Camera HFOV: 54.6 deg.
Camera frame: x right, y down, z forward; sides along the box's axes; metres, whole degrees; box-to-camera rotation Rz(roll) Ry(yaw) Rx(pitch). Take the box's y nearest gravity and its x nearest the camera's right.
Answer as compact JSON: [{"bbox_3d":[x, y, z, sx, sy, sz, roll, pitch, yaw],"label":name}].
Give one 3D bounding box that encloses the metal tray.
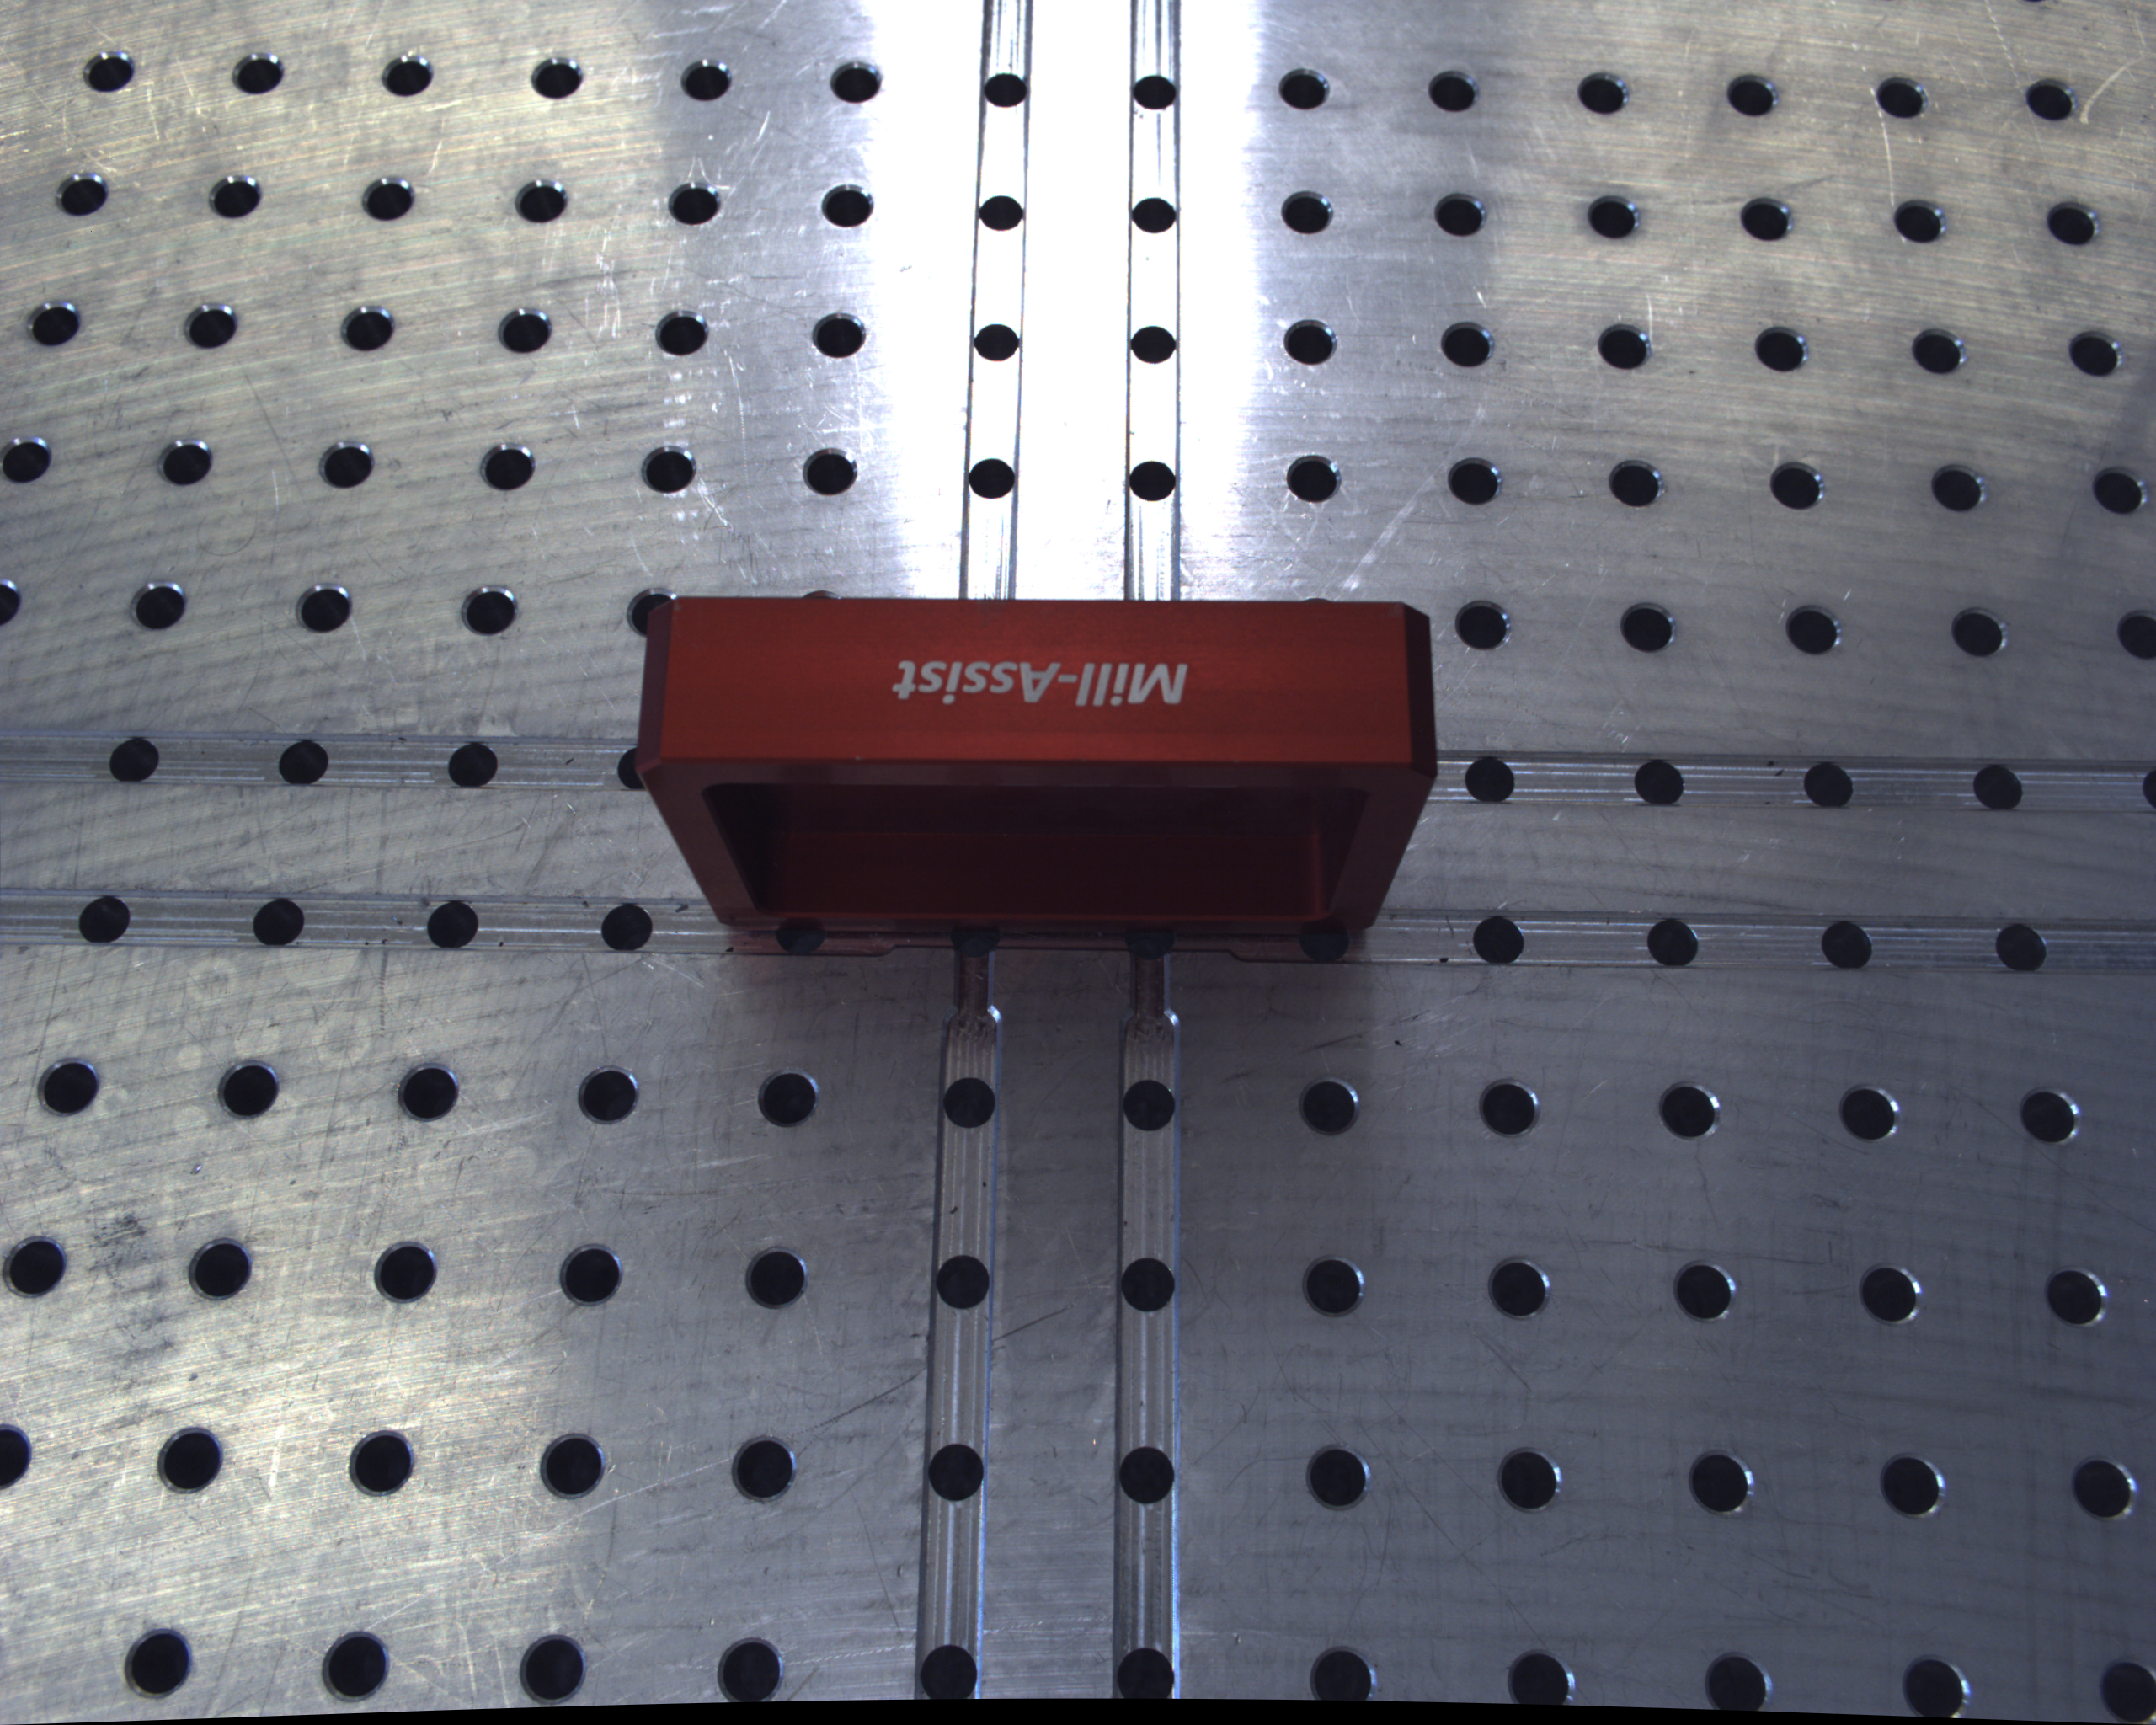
[{"bbox_3d":[-0.006,-0.015,0.382,0.131,0.090,0.030,0,70,0],"label":"metal tray"}]
